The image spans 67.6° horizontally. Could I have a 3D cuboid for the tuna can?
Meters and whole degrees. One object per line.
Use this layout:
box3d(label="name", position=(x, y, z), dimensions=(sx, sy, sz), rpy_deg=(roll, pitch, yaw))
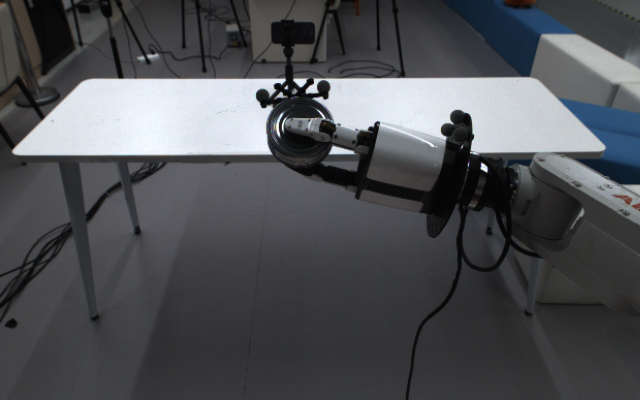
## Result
box3d(label="tuna can", position=(-0.020, -0.081, 0.606), dimensions=(0.085, 0.034, 0.085), rpy_deg=(0, 72, -1))
